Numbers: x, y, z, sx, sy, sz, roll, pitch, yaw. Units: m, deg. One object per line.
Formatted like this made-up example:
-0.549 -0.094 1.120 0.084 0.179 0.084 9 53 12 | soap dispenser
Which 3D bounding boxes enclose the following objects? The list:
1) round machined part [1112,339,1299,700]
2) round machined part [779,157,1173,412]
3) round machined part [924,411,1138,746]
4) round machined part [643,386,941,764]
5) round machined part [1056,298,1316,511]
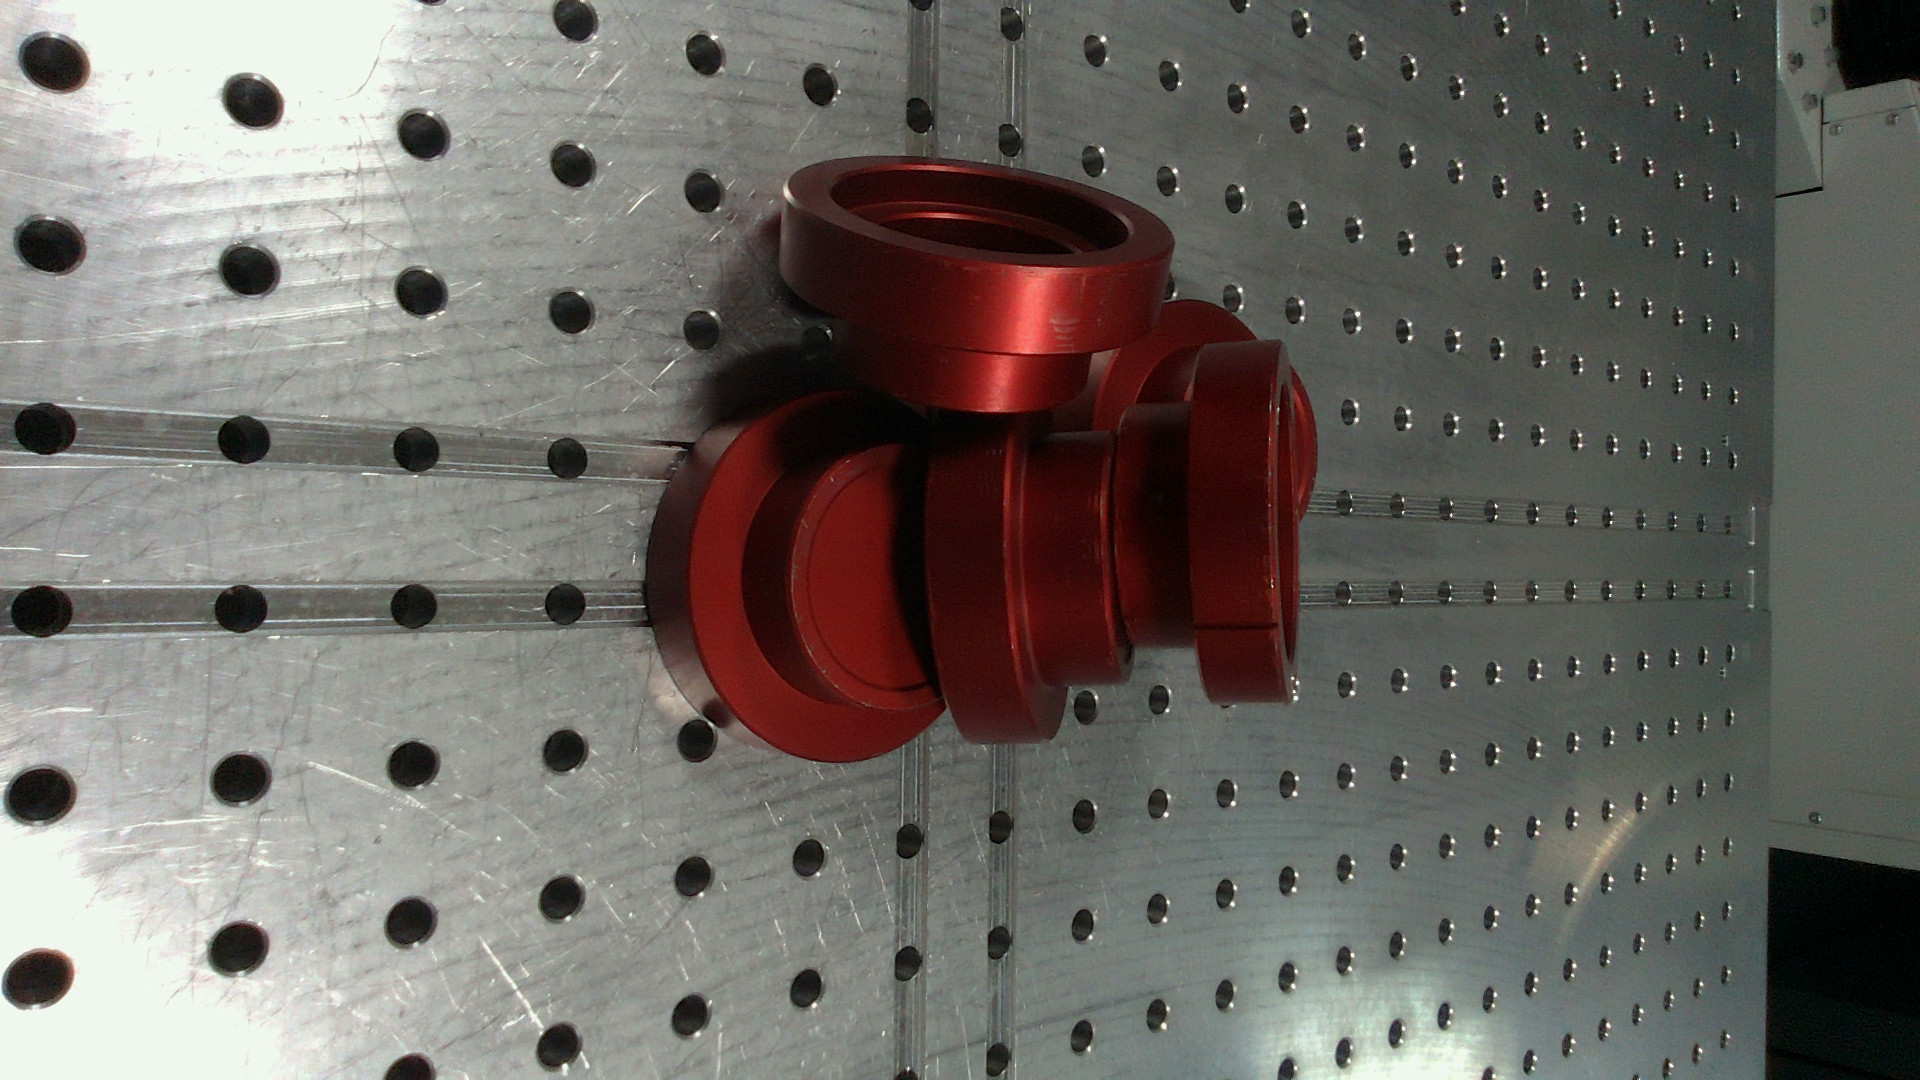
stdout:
0.068 -0.005 0.376 0.098 0.042 0.098 -1 90 -73 | round machined part
0.002 -0.065 0.353 0.098 0.098 0.042 -16 126 -39 | round machined part
0.023 0.006 0.370 0.098 0.042 0.098 -3 90 -76 | round machined part
-0.028 0.009 0.358 0.098 0.042 0.098 0 90 -40 | round machined part
0.078 -0.029 0.446 0.098 0.042 0.098 0 90 -40 | round machined part
